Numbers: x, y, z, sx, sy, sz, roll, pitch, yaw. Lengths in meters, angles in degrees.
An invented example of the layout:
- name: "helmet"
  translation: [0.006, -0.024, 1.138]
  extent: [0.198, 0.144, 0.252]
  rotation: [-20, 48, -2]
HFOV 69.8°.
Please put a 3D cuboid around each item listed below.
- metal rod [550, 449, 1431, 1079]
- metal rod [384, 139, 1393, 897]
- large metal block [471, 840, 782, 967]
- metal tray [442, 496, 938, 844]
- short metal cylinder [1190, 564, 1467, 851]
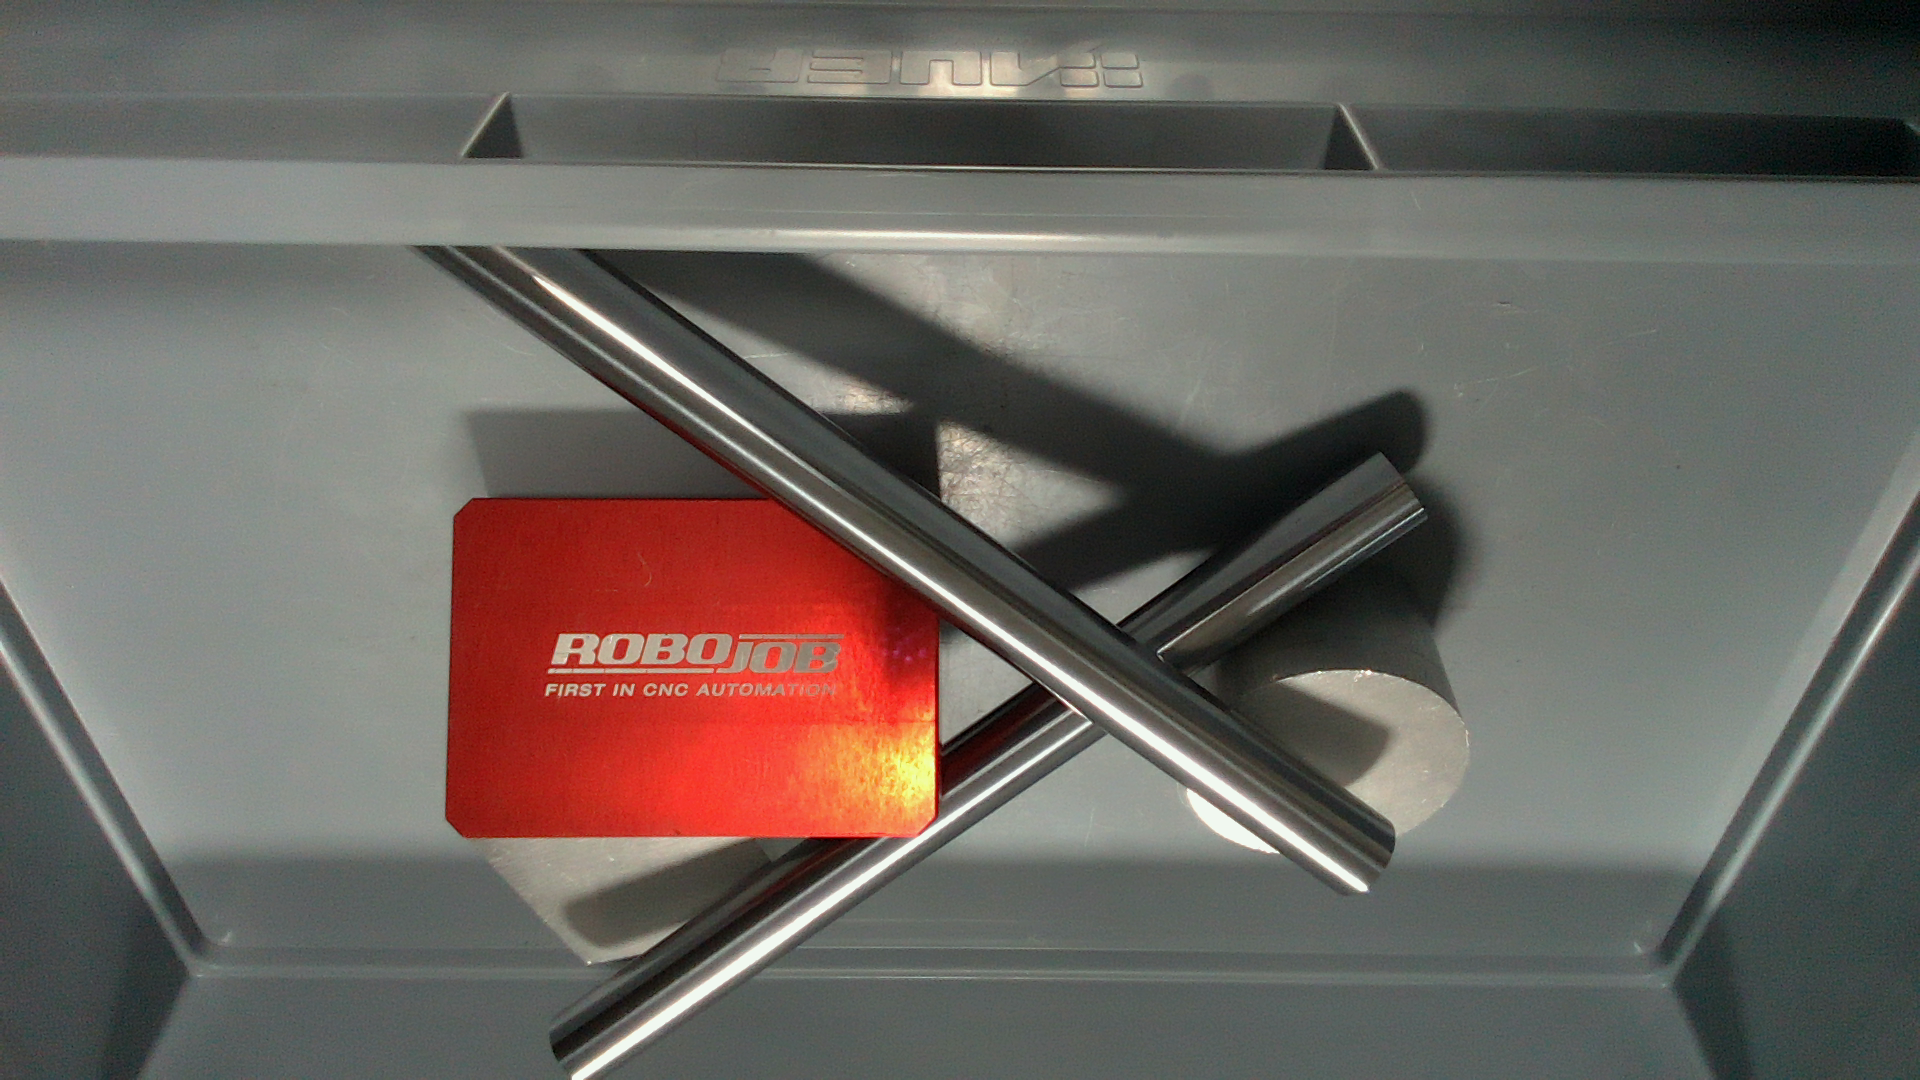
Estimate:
- name: "metal rod"
  translation: [0.001, 0.072, 0.401]
  extent: [0.300, 0.025, 0.025]
  rotation: [-36, 123, 10]
- name: "metal rod"
  translation: [-0.008, 0.003, 0.353]
  extent: [0.300, 0.025, 0.025]
  rotation: [36, 122, -12]
- name: "large metal block"
  translation: [-0.099, 0.086, 0.441]
  extent: [0.080, 0.050, 0.080]
  rotation: [-15, 129, 12]
- name: "metal tray"
  translation: [-0.071, 0.035, 0.379]
  extent: [0.130, 0.030, 0.090]
  rotation: [1, 86, 1]
- name: "short metal cylinder"
  translation: [0.105, 0.050, 0.414]
  extent: [0.080, 0.050, 0.080]
  rotation: [0, 130, 0]
